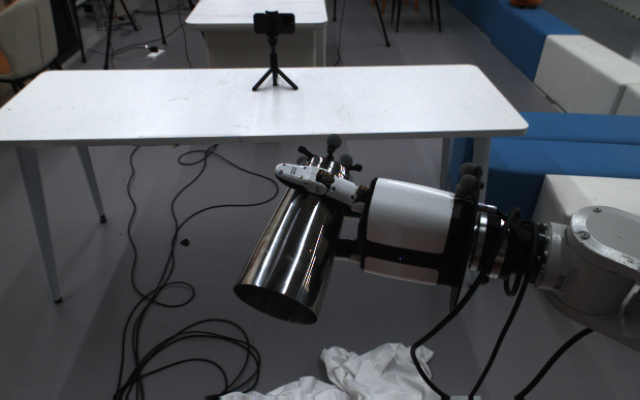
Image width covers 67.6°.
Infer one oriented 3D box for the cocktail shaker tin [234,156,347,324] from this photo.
[{"bbox_3d":[-0.019,0.035,0.532,0.093,0.093,0.170,13,59,16],"label":"cocktail shaker tin"}]
